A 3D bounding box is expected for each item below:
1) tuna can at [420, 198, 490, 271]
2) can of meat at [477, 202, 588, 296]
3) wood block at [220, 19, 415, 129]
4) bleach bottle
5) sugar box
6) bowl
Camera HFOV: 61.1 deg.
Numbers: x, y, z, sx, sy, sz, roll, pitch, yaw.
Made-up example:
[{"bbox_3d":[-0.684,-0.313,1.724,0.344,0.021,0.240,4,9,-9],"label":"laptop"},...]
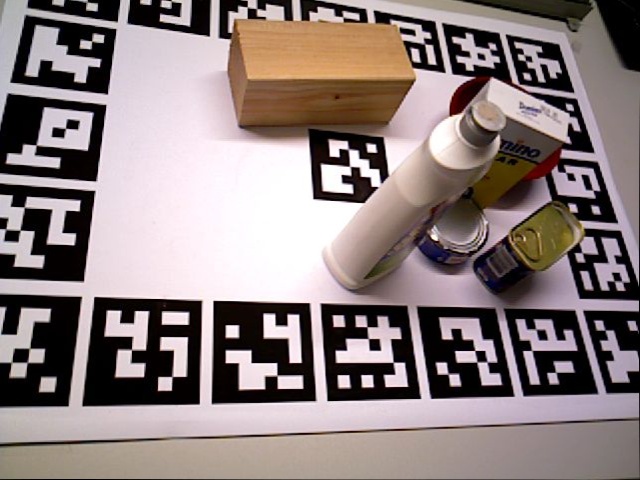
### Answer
[{"bbox_3d":[0.152,-0.008,0.630,0.085,0.034,0.085,6,66,-14],"label":"tuna can"},{"bbox_3d":[0.241,0.012,0.626,0.100,0.086,0.057,-27,72,-28],"label":"can of meat"},{"bbox_3d":[-0.006,-0.196,0.648,0.203,0.092,0.090,-6,70,-20],"label":"wood block"},{"bbox_3d":[0.088,-0.039,0.503,0.100,0.256,0.067,-23,71,-26],"label":"bleach bottle"},{"bbox_3d":[0.189,-0.093,0.600,0.092,0.180,0.044,21,61,-2],"label":"sugar box"},{"bbox_3d":[0.240,-0.134,0.709,0.160,0.056,0.160,5,63,-10],"label":"bowl"}]
